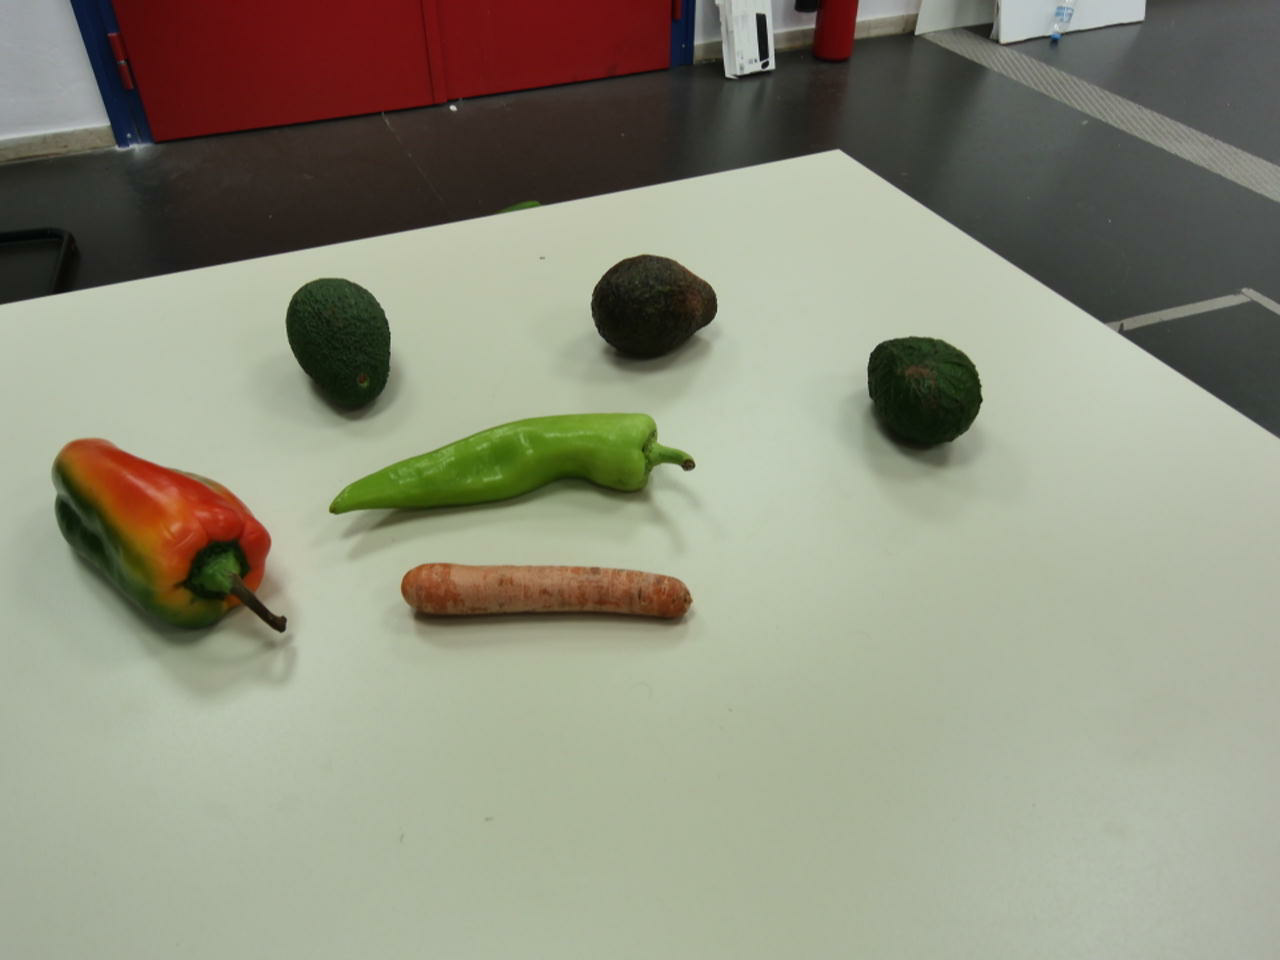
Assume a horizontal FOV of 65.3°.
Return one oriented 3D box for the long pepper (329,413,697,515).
[{"bbox_3d":[-0.073,-0.011,0.582,0.204,0.045,0.065,-5,39,-7],"label":"long pepper"}]
